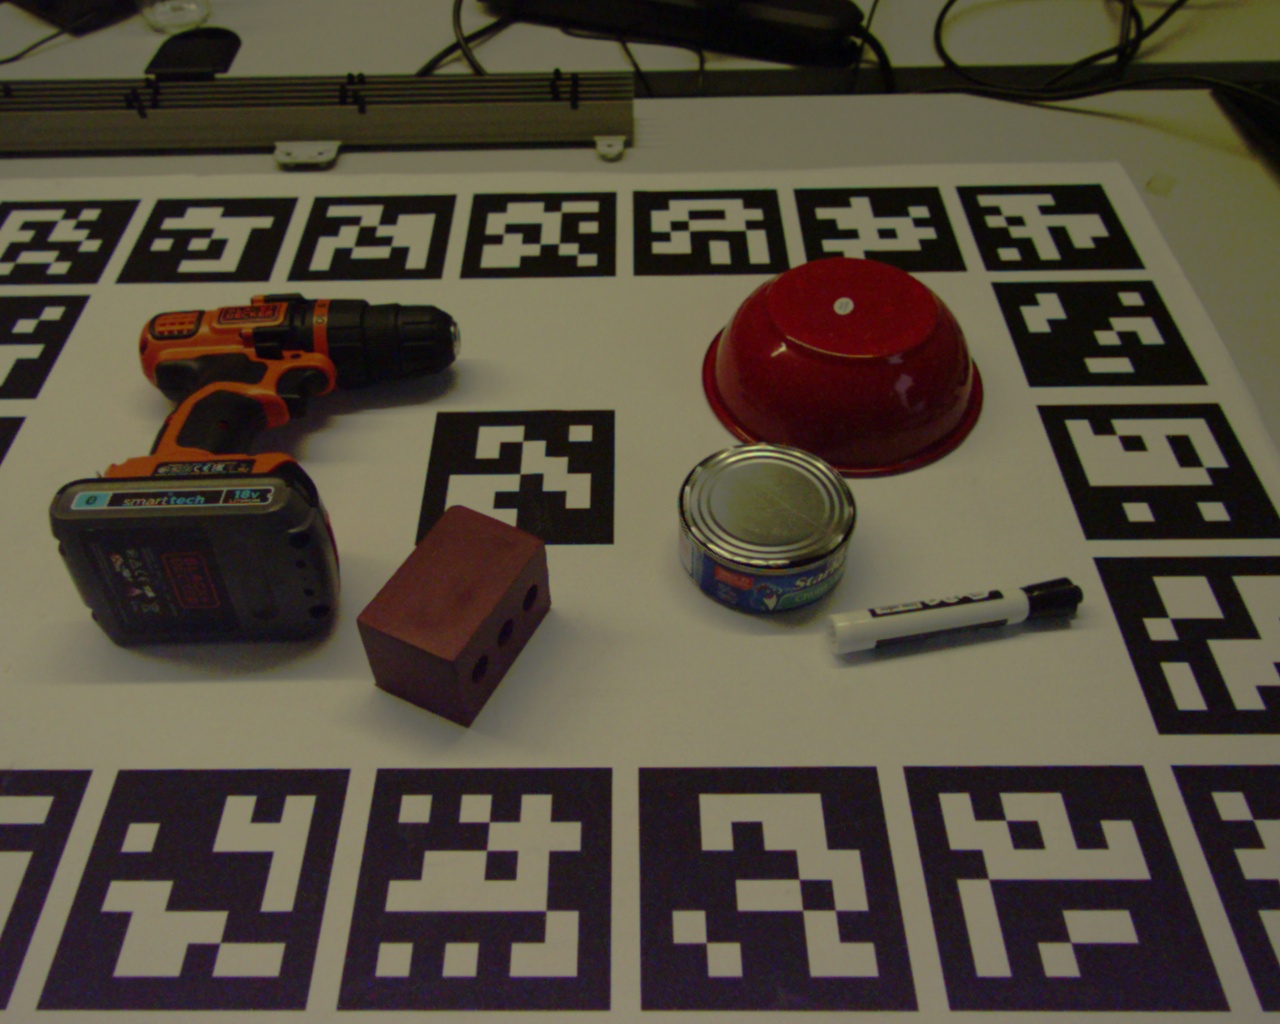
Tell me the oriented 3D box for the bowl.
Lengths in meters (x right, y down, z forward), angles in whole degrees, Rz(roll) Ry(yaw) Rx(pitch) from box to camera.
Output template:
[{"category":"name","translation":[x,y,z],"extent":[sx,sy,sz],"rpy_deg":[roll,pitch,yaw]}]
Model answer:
[{"category":"bowl","translation":[0.109,-0.093,0.681],"extent":[0.162,0.055,0.162],"rpy_deg":[-3,41,2]}]

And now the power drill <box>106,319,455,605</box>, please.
[{"category":"power drill","translation":[-0.199,-0.036,0.625],"extent":[0.184,0.057,0.188],"rpy_deg":[0,45,-3]}]

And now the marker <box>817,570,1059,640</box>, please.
[{"category":"marker","translation":[0.148,0.045,0.562],"extent":[0.121,0.019,0.020],"rpy_deg":[-8,50,-7]}]

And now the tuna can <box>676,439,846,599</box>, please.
[{"category":"tuna can","translation":[0.062,0.003,0.593],"extent":[0.086,0.033,0.086],"rpy_deg":[1,48,-2]}]

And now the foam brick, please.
[{"category":"foam brick","translation":[-0.082,0.049,0.552],"extent":[0.052,0.052,0.078],"rpy_deg":[18,52,15]}]
